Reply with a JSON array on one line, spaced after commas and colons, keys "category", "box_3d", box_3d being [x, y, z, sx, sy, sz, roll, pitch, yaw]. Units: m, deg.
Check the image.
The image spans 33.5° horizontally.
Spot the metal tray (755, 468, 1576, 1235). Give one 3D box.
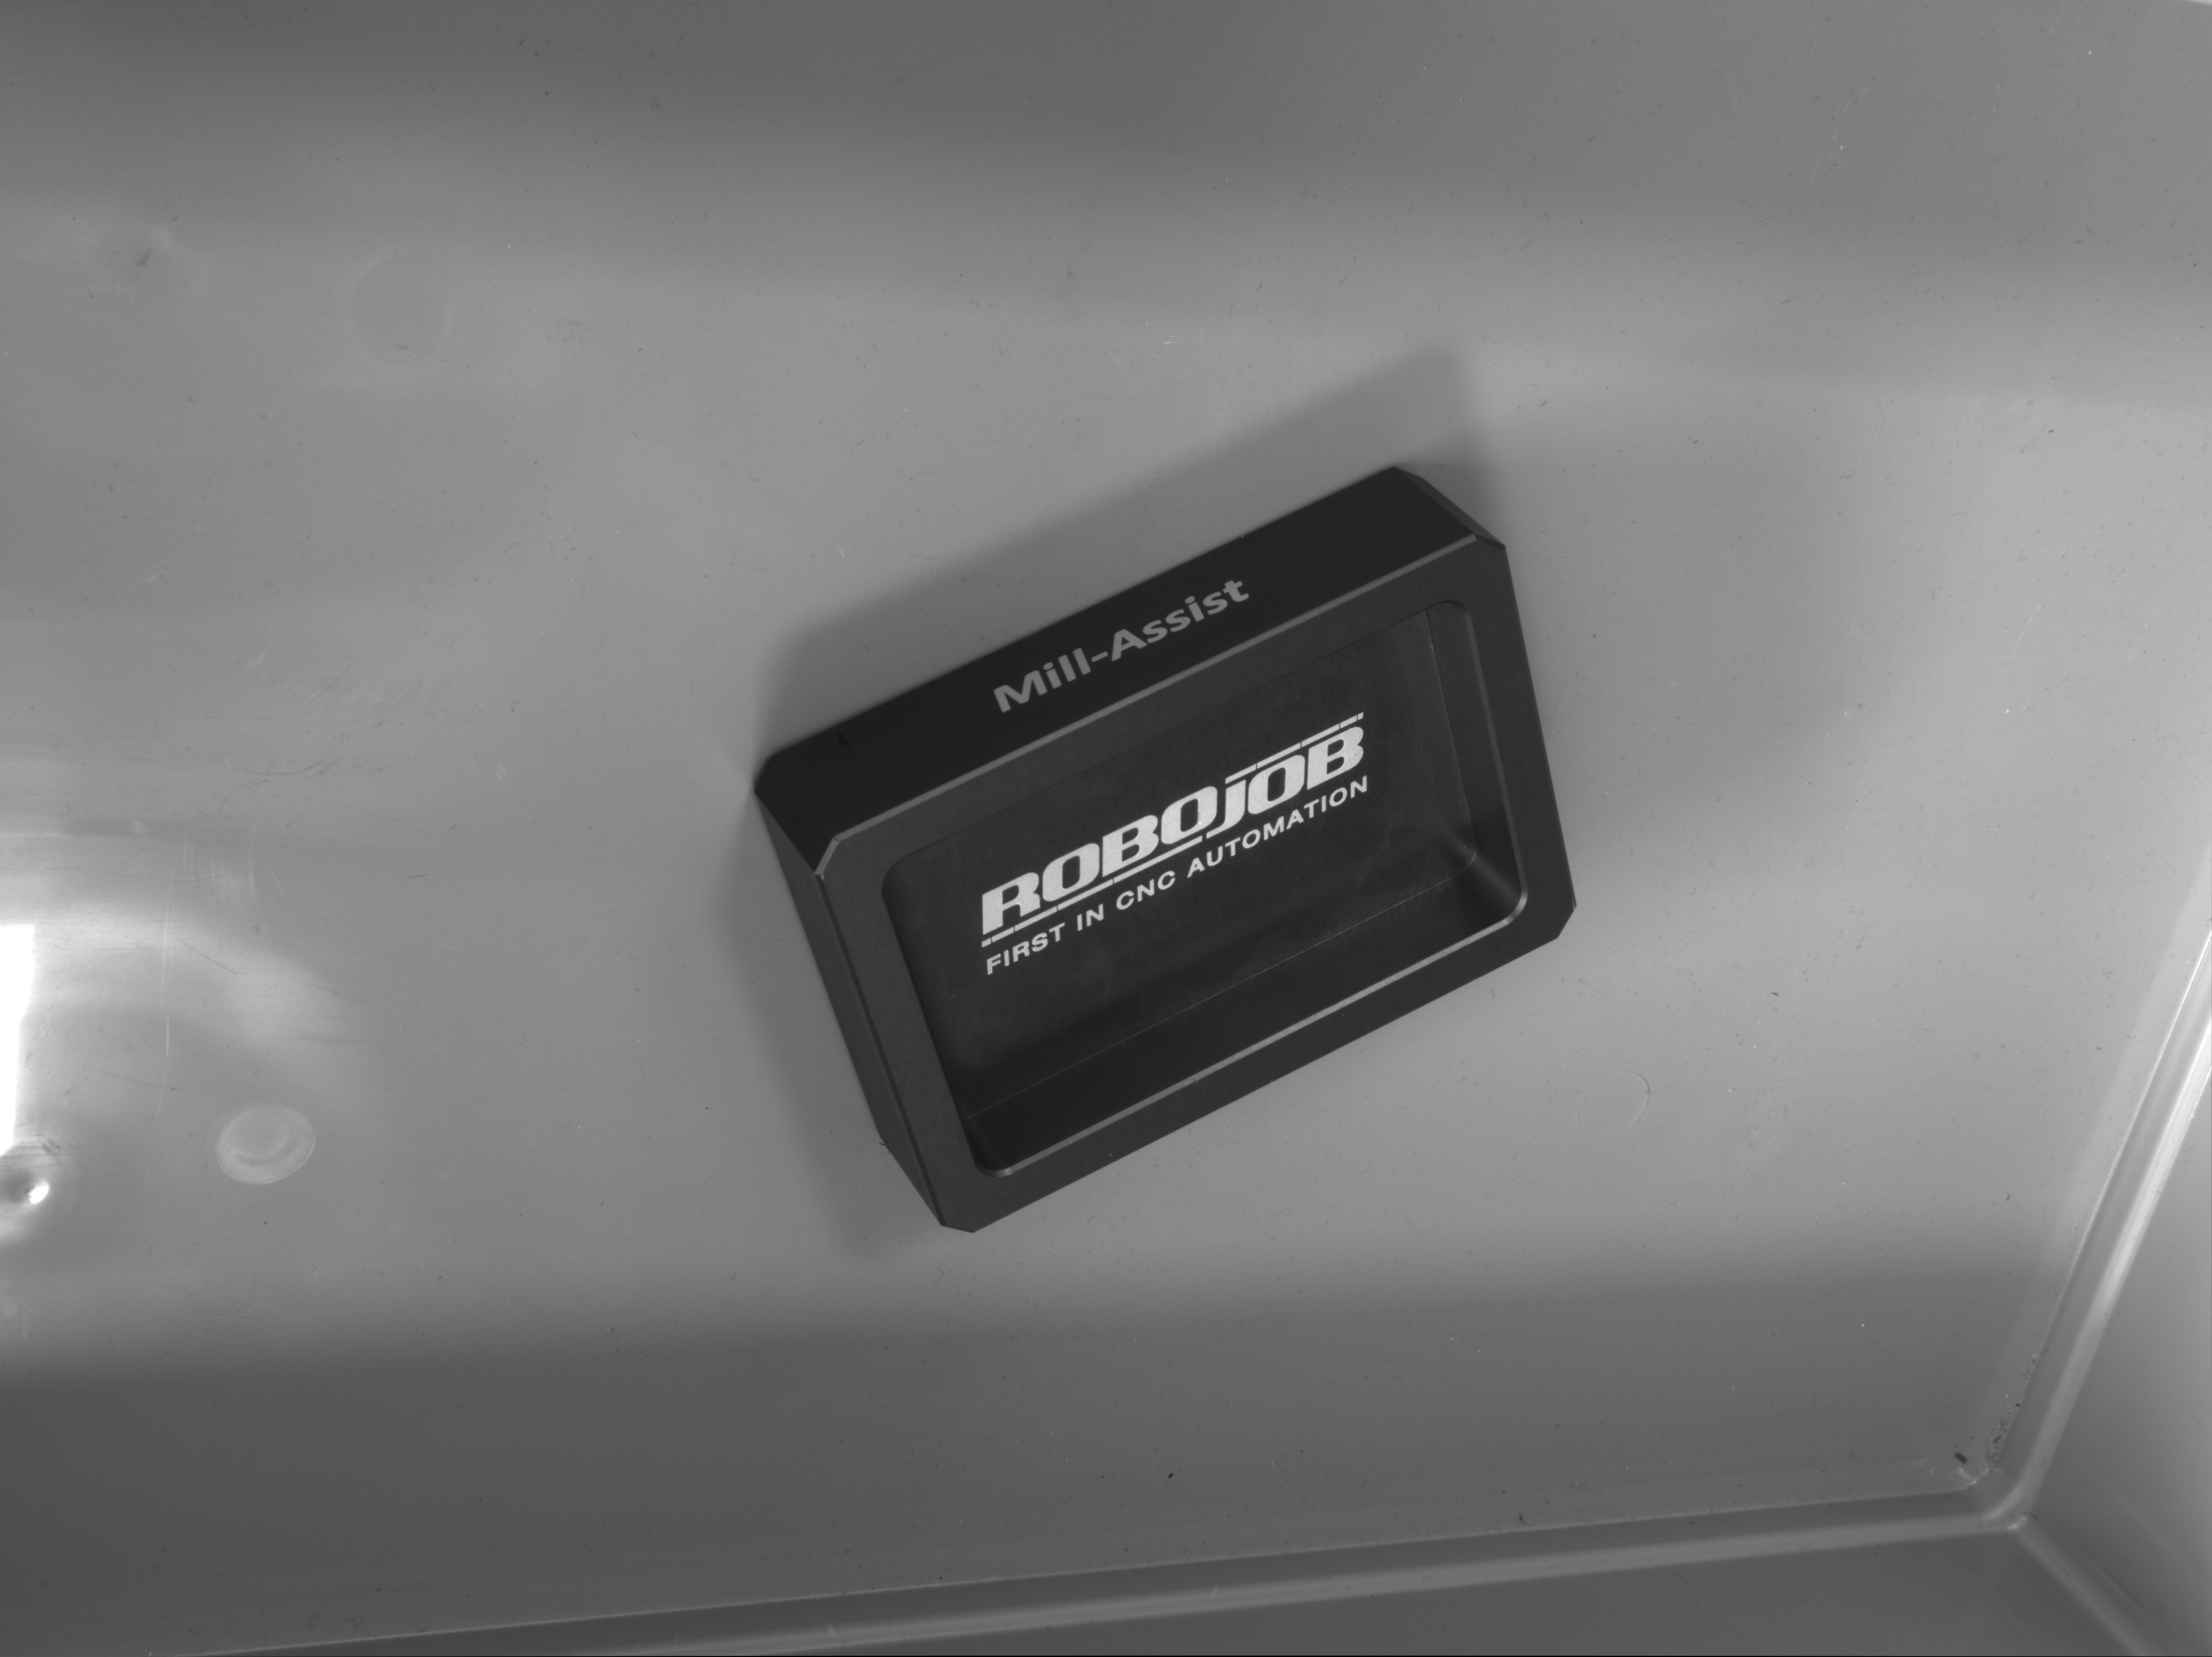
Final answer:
[{"category": "metal tray", "box_3d": [0.013, 0.004, 0.641, 0.130, 0.030, 0.090, -26, 128, -13]}]
